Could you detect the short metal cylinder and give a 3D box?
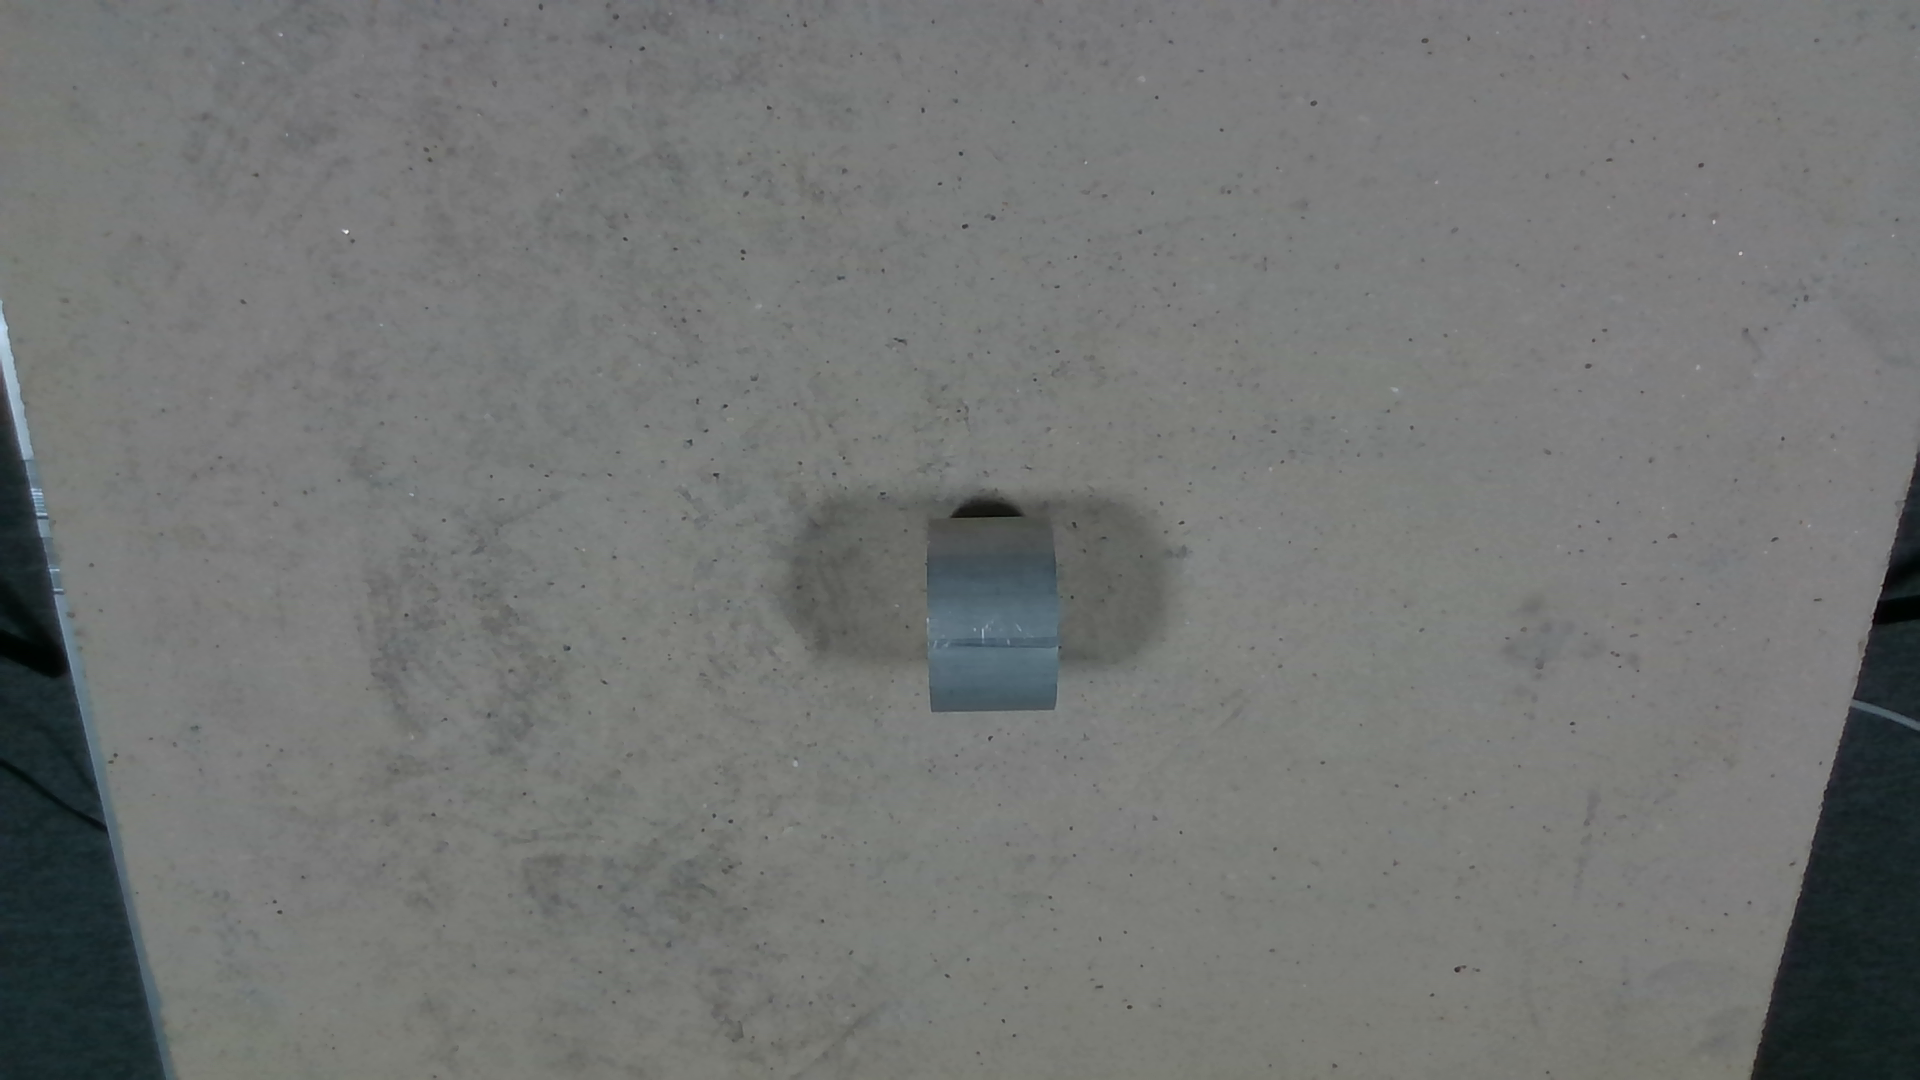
[{"bbox_3d":[0.013,0.030,0.567,0.050,0.080,0.080,-1,110,0],"label":"short metal cylinder"}]
